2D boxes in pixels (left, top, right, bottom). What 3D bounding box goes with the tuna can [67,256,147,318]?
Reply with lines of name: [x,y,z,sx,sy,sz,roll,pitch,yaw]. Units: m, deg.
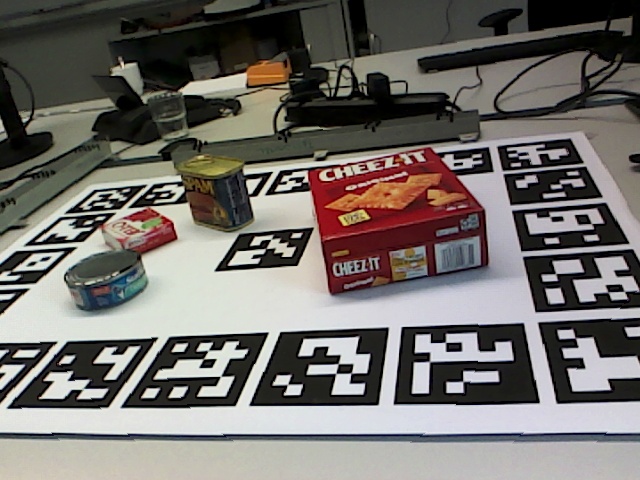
tuna can: [-0.249,0.054,0.726,0.086,0.033,0.086,-10,28,5]

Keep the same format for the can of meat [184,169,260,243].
can of meat: [-0.135,-0.048,0.863,0.102,0.083,0.057,13,33,43]

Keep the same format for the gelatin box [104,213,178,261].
gelatin box: [-0.250,-0.004,0.861,0.073,0.030,0.090,-22,30,-30]

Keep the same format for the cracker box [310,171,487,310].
cracker box: [0.077,-0.009,0.708,0.164,0.072,0.214,-9,23,0]
